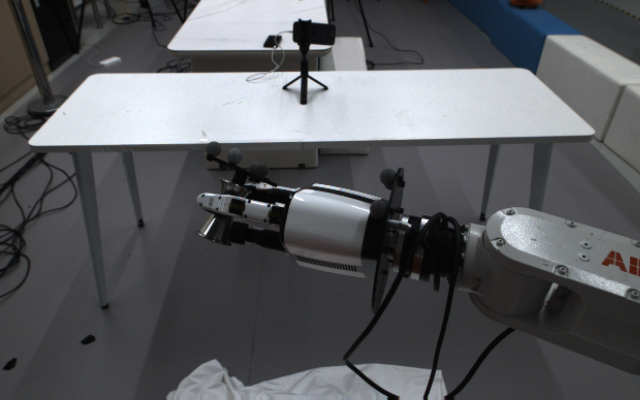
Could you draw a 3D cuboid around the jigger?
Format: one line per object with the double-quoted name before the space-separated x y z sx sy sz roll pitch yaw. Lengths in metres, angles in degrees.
"jigger" -0.110 0.012 0.554 0.043 0.071 0.043 24 -3 1
